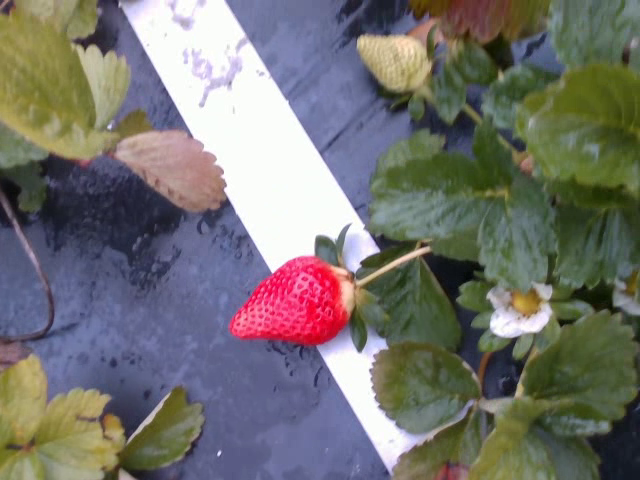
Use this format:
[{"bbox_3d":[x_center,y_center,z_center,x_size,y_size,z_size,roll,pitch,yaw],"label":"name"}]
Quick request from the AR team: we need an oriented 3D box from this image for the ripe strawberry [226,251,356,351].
[{"bbox_3d":[-0.013,0.026,0.237,0.051,0.041,0.037,-19,17,-7],"label":"ripe strawberry"}]
